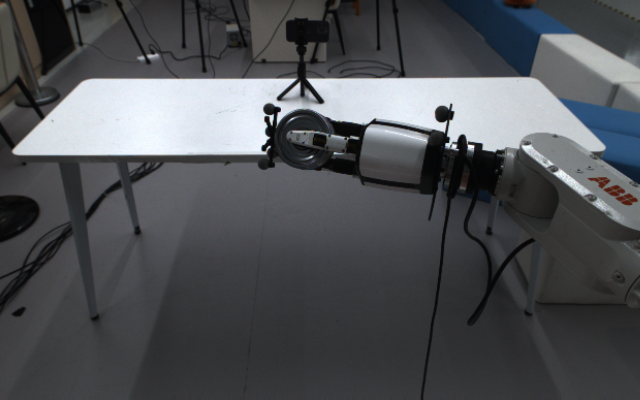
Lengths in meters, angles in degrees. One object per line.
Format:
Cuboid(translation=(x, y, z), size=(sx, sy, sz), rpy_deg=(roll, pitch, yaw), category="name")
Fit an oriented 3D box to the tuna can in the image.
Cuboid(translation=(-0.020, -0.088, 0.693), size=(0.085, 0.085, 0.034), rpy_deg=(10, 2, 11), category="tuna can")
